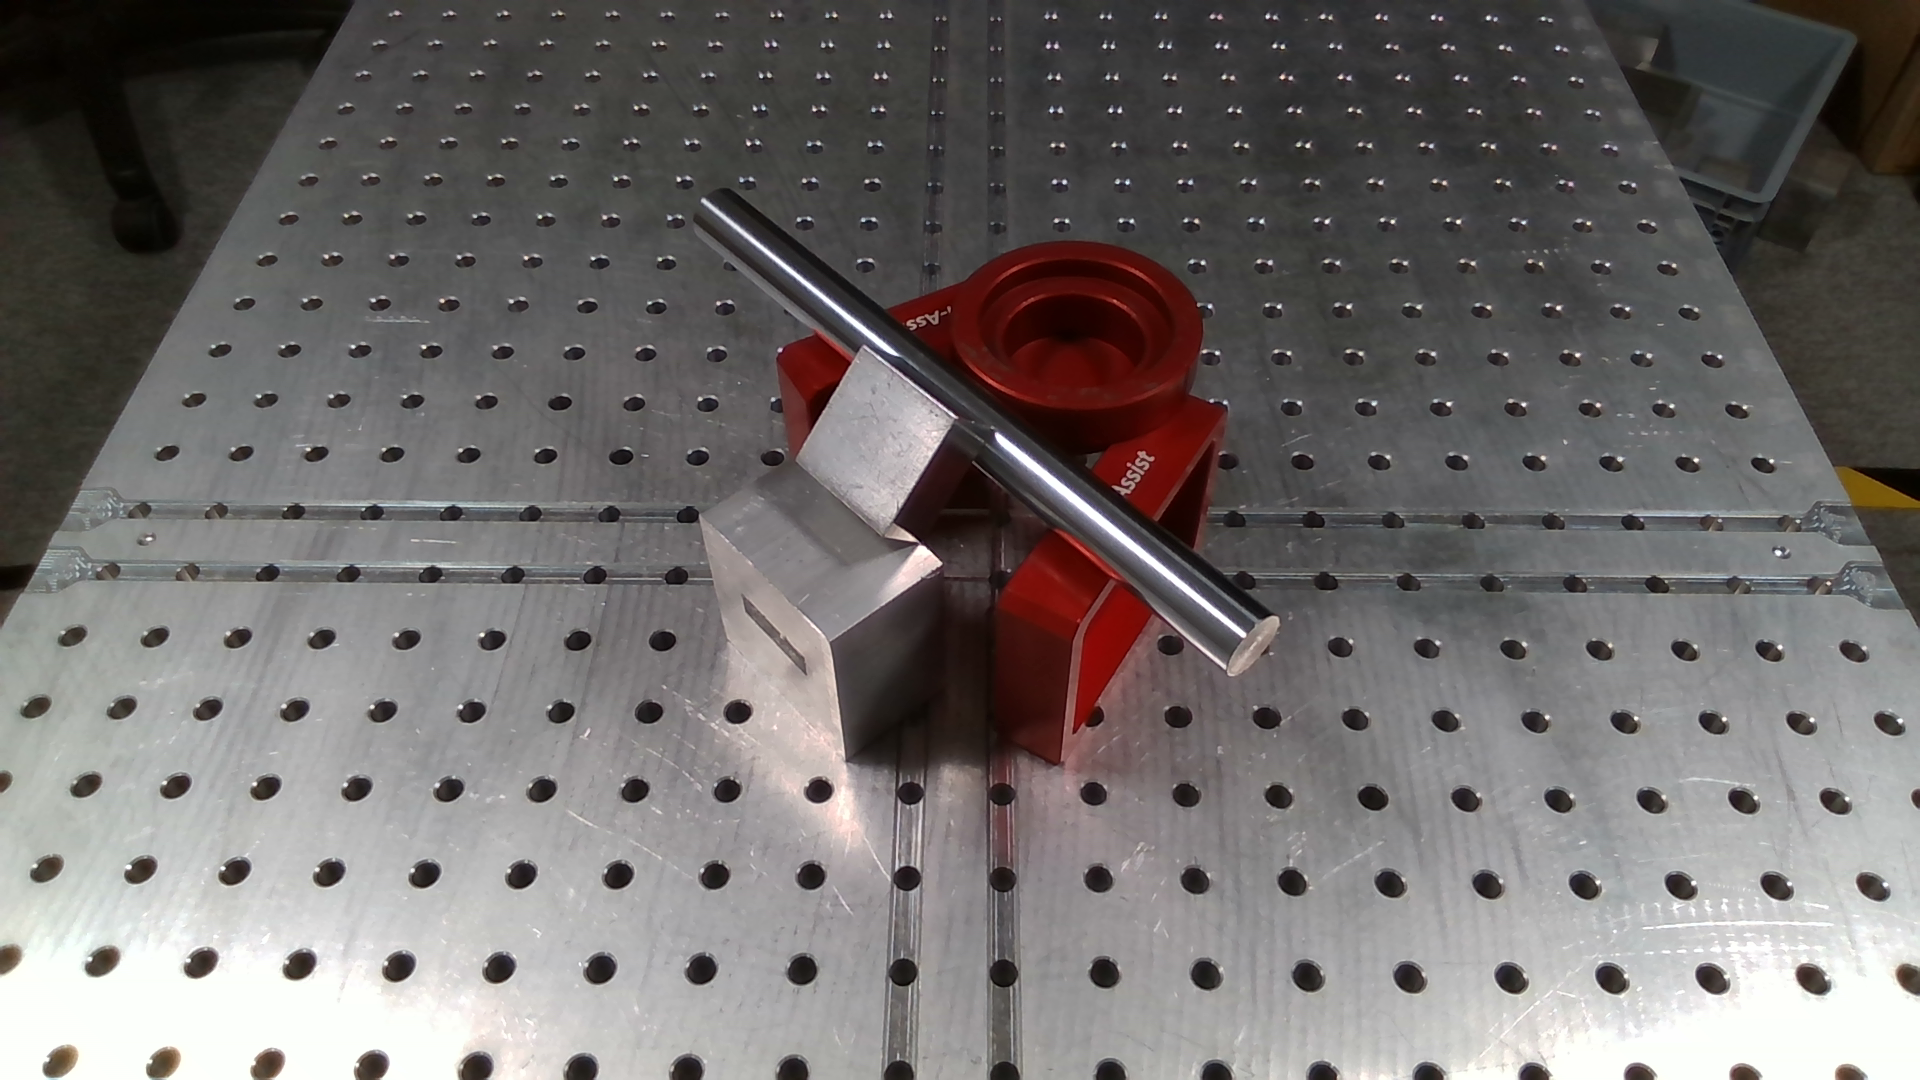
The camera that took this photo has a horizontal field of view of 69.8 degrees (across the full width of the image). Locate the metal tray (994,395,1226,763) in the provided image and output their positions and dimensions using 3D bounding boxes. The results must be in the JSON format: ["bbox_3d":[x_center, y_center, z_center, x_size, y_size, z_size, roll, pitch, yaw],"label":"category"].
[{"bbox_3d":[0.059,0.012,0.537,0.030,0.090,0.130,24,54,20],"label":"metal tray"}]

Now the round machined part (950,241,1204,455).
[{"bbox_3d":[0.045,-0.072,0.549,0.098,0.042,0.098,0,50,0],"label":"round machined part"}]

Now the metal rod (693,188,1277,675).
[{"bbox_3d":[-0.005,-0.052,0.516,0.025,0.025,0.299,-34,58,-25],"label":"metal rod"}]

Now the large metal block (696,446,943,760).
[{"bbox_3d":[-0.052,0.024,0.530,0.050,0.080,0.080,-34,58,-25],"label":"large metal block"}]

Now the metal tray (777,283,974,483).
[{"bbox_3d":[-0.010,-0.063,0.600,0.130,0.090,0.030,-23,54,-18],"label":"metal tray"}]

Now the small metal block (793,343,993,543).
[{"bbox_3d":[-0.025,-0.035,0.496,0.050,0.050,0.025,40,16,28],"label":"small metal block"}]
